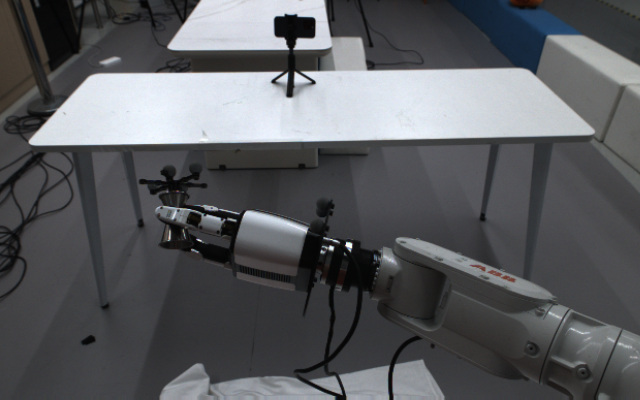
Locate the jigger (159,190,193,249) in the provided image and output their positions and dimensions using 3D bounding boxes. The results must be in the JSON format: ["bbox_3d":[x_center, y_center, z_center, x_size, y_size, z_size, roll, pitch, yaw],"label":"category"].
[{"bbox_3d":[-0.190,0.027,0.635,0.043,0.043,0.071,-5,72,-10],"label":"jigger"}]
